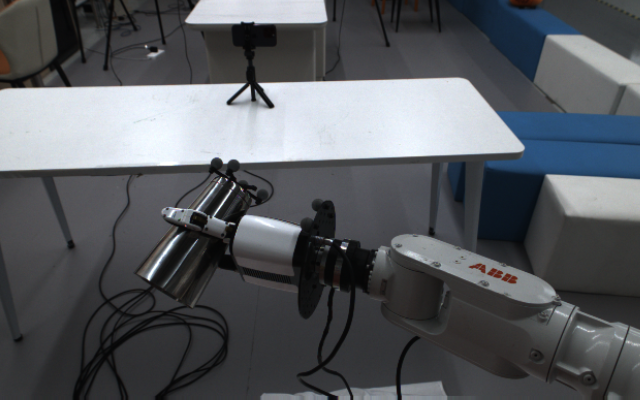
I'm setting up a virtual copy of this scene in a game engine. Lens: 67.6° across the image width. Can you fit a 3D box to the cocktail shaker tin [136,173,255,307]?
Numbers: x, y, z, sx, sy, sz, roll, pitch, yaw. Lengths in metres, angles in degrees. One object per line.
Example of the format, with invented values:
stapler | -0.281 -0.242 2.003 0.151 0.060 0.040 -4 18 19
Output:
cocktail shaker tin | -0.165 0.050 0.670 0.093 0.093 0.170 20 67 24
